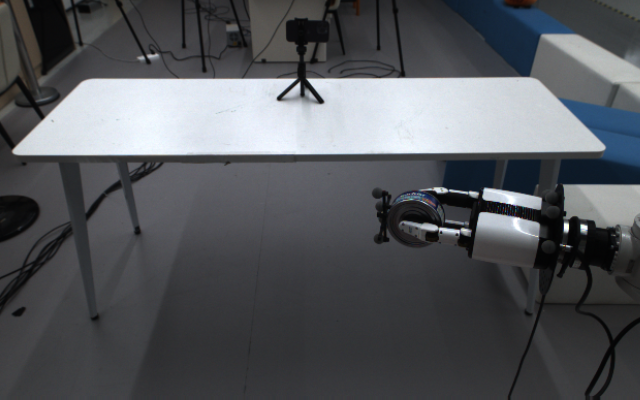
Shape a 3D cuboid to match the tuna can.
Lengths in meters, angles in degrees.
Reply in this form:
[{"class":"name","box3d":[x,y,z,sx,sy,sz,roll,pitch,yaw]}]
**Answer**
[{"class":"tuna can","box3d":[0.149,0.027,0.743,0.085,0.085,0.034,12,27,14]}]
